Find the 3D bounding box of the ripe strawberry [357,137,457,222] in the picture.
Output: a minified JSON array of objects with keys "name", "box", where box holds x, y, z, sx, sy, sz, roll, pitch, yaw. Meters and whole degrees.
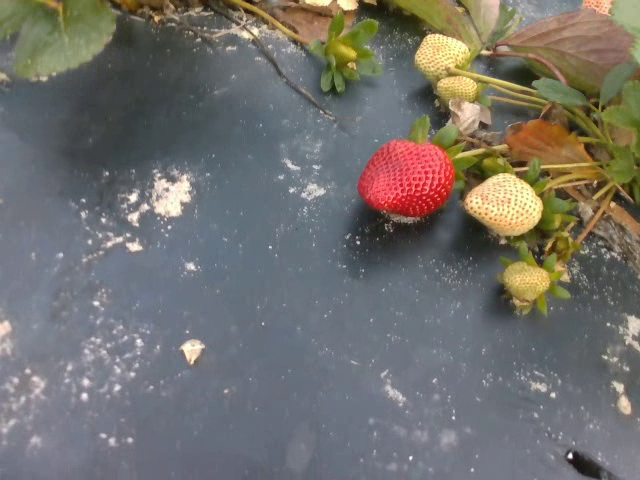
[{"name":"ripe strawberry","box":[0.036,-0.027,0.277,0.050,0.034,0.059,30,37,14]}]
